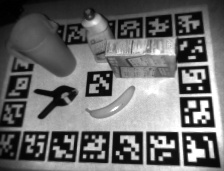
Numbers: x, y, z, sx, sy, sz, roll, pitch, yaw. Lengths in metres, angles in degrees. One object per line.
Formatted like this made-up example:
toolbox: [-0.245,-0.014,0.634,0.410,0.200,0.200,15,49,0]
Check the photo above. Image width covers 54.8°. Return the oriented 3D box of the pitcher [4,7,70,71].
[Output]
pitcher: [-0.252,-0.144,0.757,0.188,0.244,0.132,-19,65,3]

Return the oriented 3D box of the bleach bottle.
bleach bottle: [-0.063,-0.181,0.749,0.102,0.253,0.067,-3,68,14]

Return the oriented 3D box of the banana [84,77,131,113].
banana: [-0.005,0.041,0.775,0.197,0.039,0.073,-34,65,-1]

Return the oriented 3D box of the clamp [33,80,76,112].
clamp: [-0.219,0.024,0.823,0.165,0.037,0.121,-17,65,4]

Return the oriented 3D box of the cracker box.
cracker box: [0.089,-0.106,0.716,0.212,0.166,0.072,-1,66,15]
